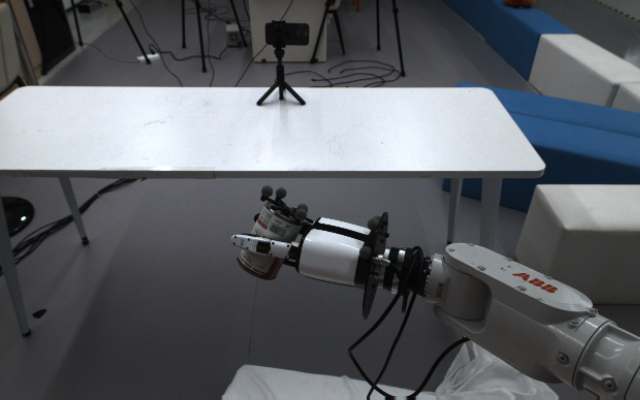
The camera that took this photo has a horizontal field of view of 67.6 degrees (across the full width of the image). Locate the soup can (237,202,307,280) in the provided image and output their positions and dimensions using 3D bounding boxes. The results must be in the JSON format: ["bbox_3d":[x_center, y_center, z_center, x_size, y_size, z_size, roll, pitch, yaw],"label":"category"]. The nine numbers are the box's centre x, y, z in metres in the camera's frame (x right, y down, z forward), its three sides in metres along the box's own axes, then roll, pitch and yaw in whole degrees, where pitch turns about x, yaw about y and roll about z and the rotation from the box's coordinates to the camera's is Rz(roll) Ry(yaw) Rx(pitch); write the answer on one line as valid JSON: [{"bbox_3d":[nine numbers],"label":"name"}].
[{"bbox_3d":[-0.075,0.063,0.740,0.067,0.101,0.067,27,10,-5],"label":"soup can"}]
